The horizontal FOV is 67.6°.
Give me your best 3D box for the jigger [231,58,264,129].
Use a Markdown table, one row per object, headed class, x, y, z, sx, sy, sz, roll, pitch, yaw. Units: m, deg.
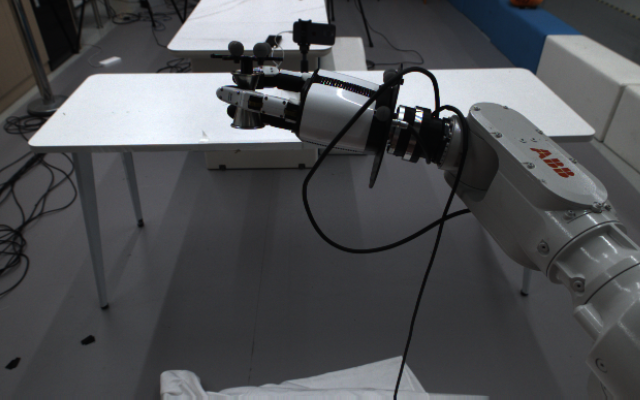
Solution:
| class | x | y | z | sx | sy | sz | roll | pitch | yaw |
| --- | --- | --- | --- | --- | --- | --- | --- | --- | --- |
| jigger | -0.092 | -0.129 | 0.620 | 0.043 | 0.071 | 0.043 | 2 | 20 | -1 |
